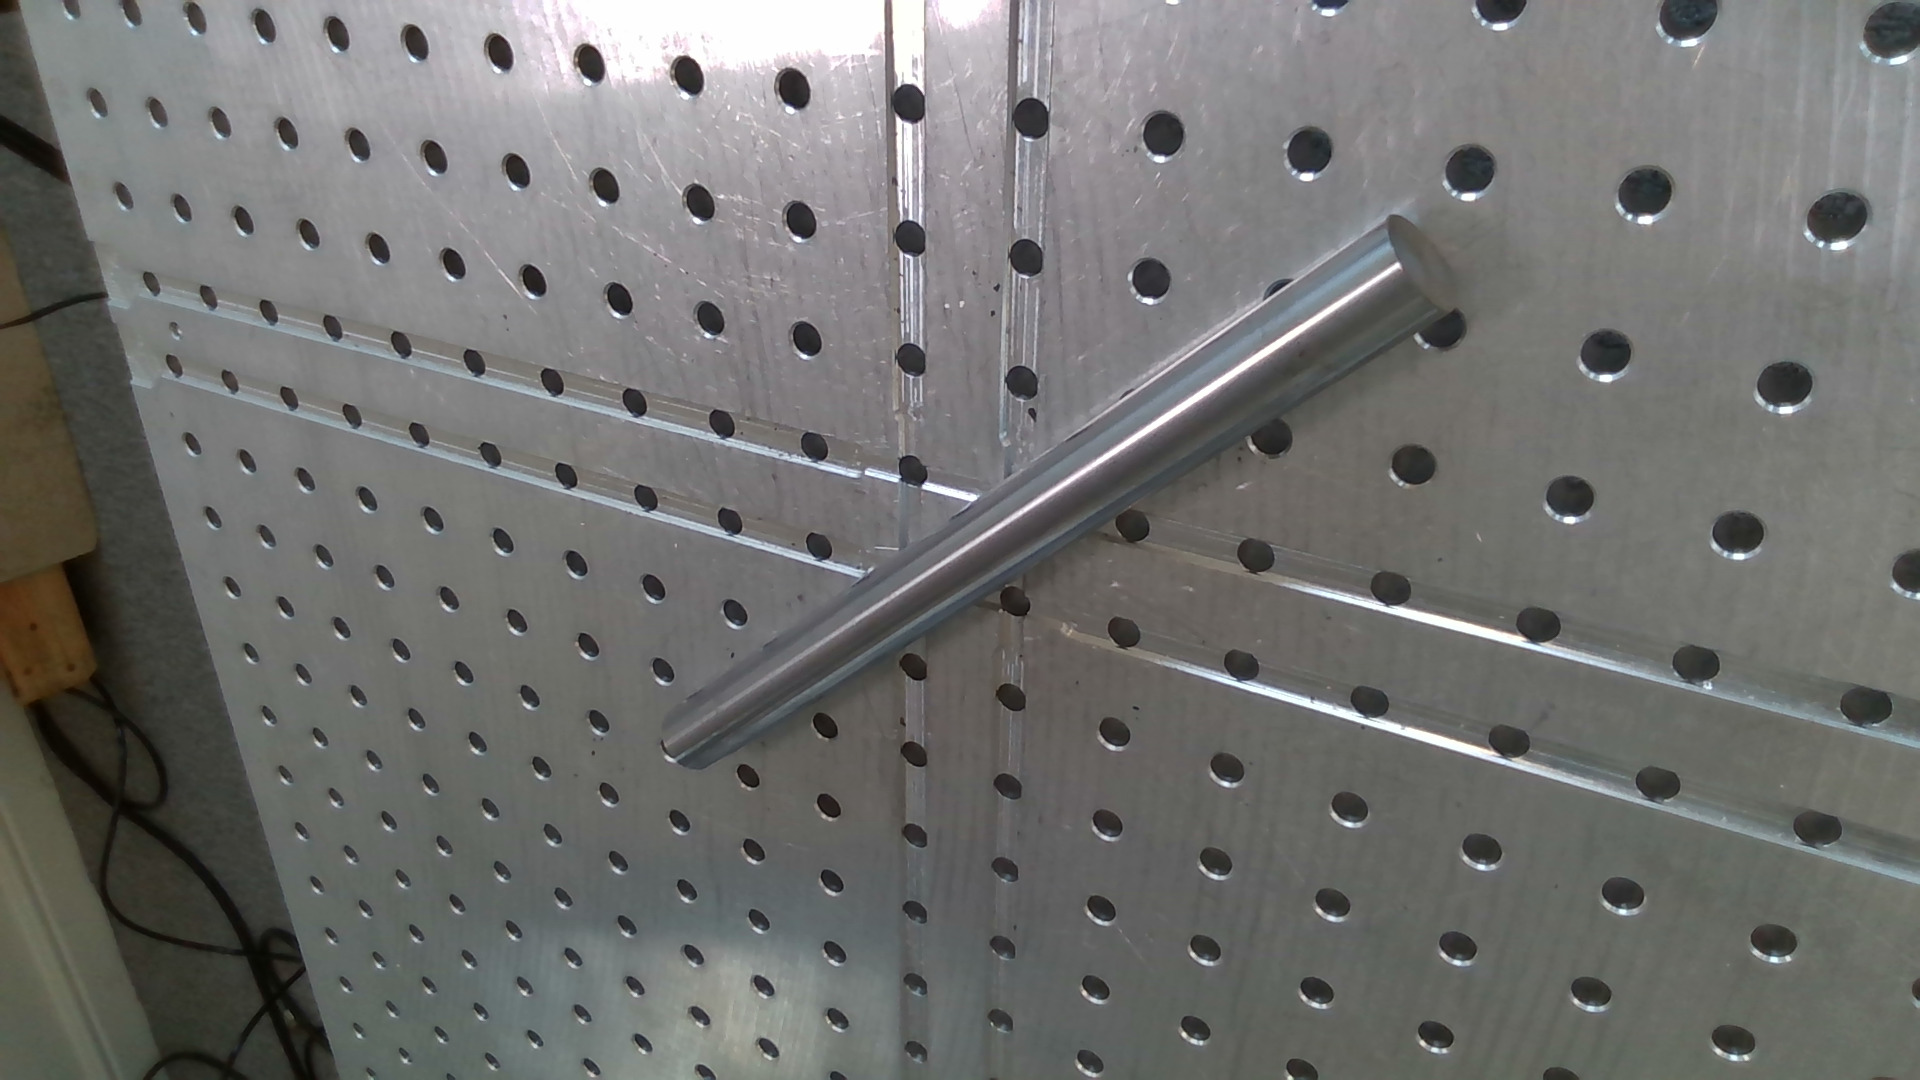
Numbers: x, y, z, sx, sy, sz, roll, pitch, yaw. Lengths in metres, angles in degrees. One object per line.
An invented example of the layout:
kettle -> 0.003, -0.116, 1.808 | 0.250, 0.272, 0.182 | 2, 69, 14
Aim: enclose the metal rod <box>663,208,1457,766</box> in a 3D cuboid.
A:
metal rod -> 0.003, 0.003, 0.392 | 0.301, 0.025, 0.025 | -34, 95, 39
